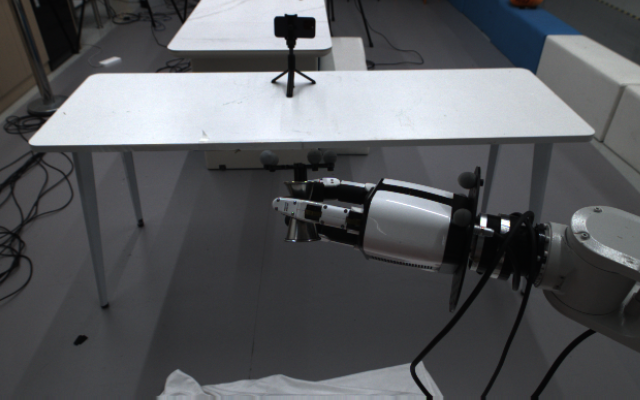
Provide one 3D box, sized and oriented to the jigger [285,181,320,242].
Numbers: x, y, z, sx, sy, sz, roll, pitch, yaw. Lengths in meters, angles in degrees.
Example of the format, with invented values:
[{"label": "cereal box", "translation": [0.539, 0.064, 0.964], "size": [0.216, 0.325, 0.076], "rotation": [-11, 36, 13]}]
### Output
[{"label": "jigger", "translation": [-0.021, 0.013, 0.560], "size": [0.043, 0.071, 0.043], "rotation": [-2, 3, 0]}]
